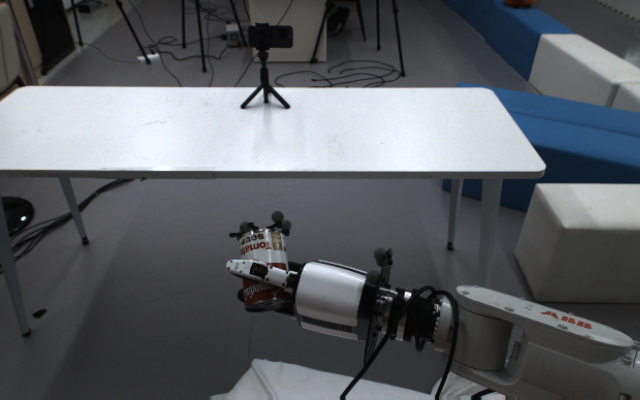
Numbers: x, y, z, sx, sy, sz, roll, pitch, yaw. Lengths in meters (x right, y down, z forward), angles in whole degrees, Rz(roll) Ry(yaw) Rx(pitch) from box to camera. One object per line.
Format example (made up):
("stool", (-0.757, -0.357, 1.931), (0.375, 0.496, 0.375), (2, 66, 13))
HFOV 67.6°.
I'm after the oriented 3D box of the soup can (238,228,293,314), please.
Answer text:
("soup can", (-0.075, 0.100, 0.677), (0.067, 0.067, 0.101), (-6, 67, -12))
